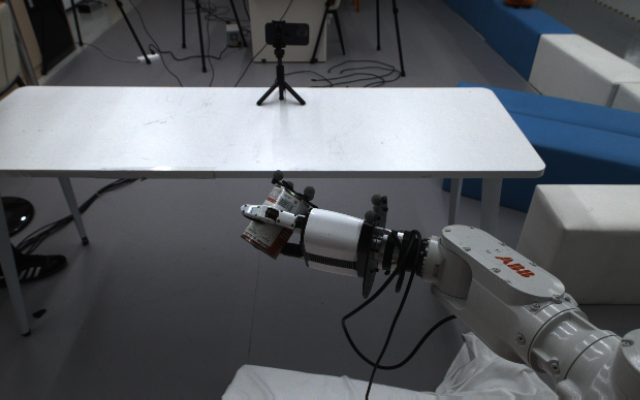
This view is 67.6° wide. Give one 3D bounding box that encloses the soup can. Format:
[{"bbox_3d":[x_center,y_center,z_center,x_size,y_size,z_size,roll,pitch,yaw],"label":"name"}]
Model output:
[{"bbox_3d":[-0.071,0.037,0.775,0.067,0.067,0.101,27,78,31],"label":"soup can"}]
